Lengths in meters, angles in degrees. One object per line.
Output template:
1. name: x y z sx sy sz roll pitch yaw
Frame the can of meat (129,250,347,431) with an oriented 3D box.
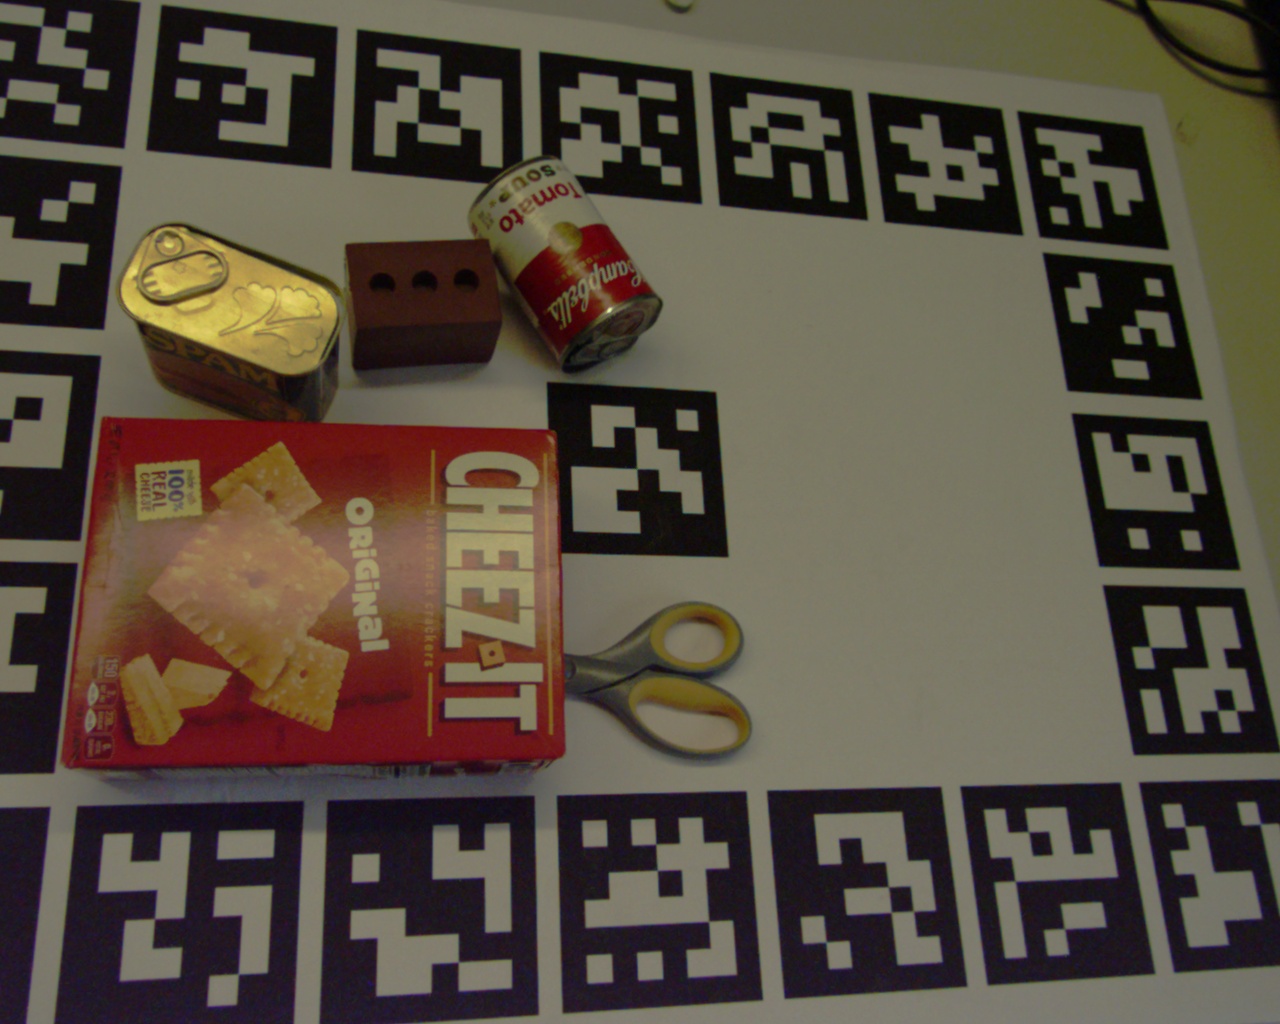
1. can of meat: -0.211 -0.086 0.609 0.101 0.084 0.058 16 71 -9

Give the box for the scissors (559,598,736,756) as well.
1. scissors: -0.048 0.095 0.619 0.201 0.016 0.088 -3 75 -14

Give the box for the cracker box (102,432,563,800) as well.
1. cracker box: -0.153 0.049 0.575 0.212 0.072 0.165 -4 74 -11

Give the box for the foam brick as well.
1. foam brick: -0.124 -0.109 0.657 0.077 0.051 0.053 -9 77 -16

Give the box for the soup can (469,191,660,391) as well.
1. soup can: -0.046 -0.132 0.682 0.067 0.068 0.102 -37 80 -21
